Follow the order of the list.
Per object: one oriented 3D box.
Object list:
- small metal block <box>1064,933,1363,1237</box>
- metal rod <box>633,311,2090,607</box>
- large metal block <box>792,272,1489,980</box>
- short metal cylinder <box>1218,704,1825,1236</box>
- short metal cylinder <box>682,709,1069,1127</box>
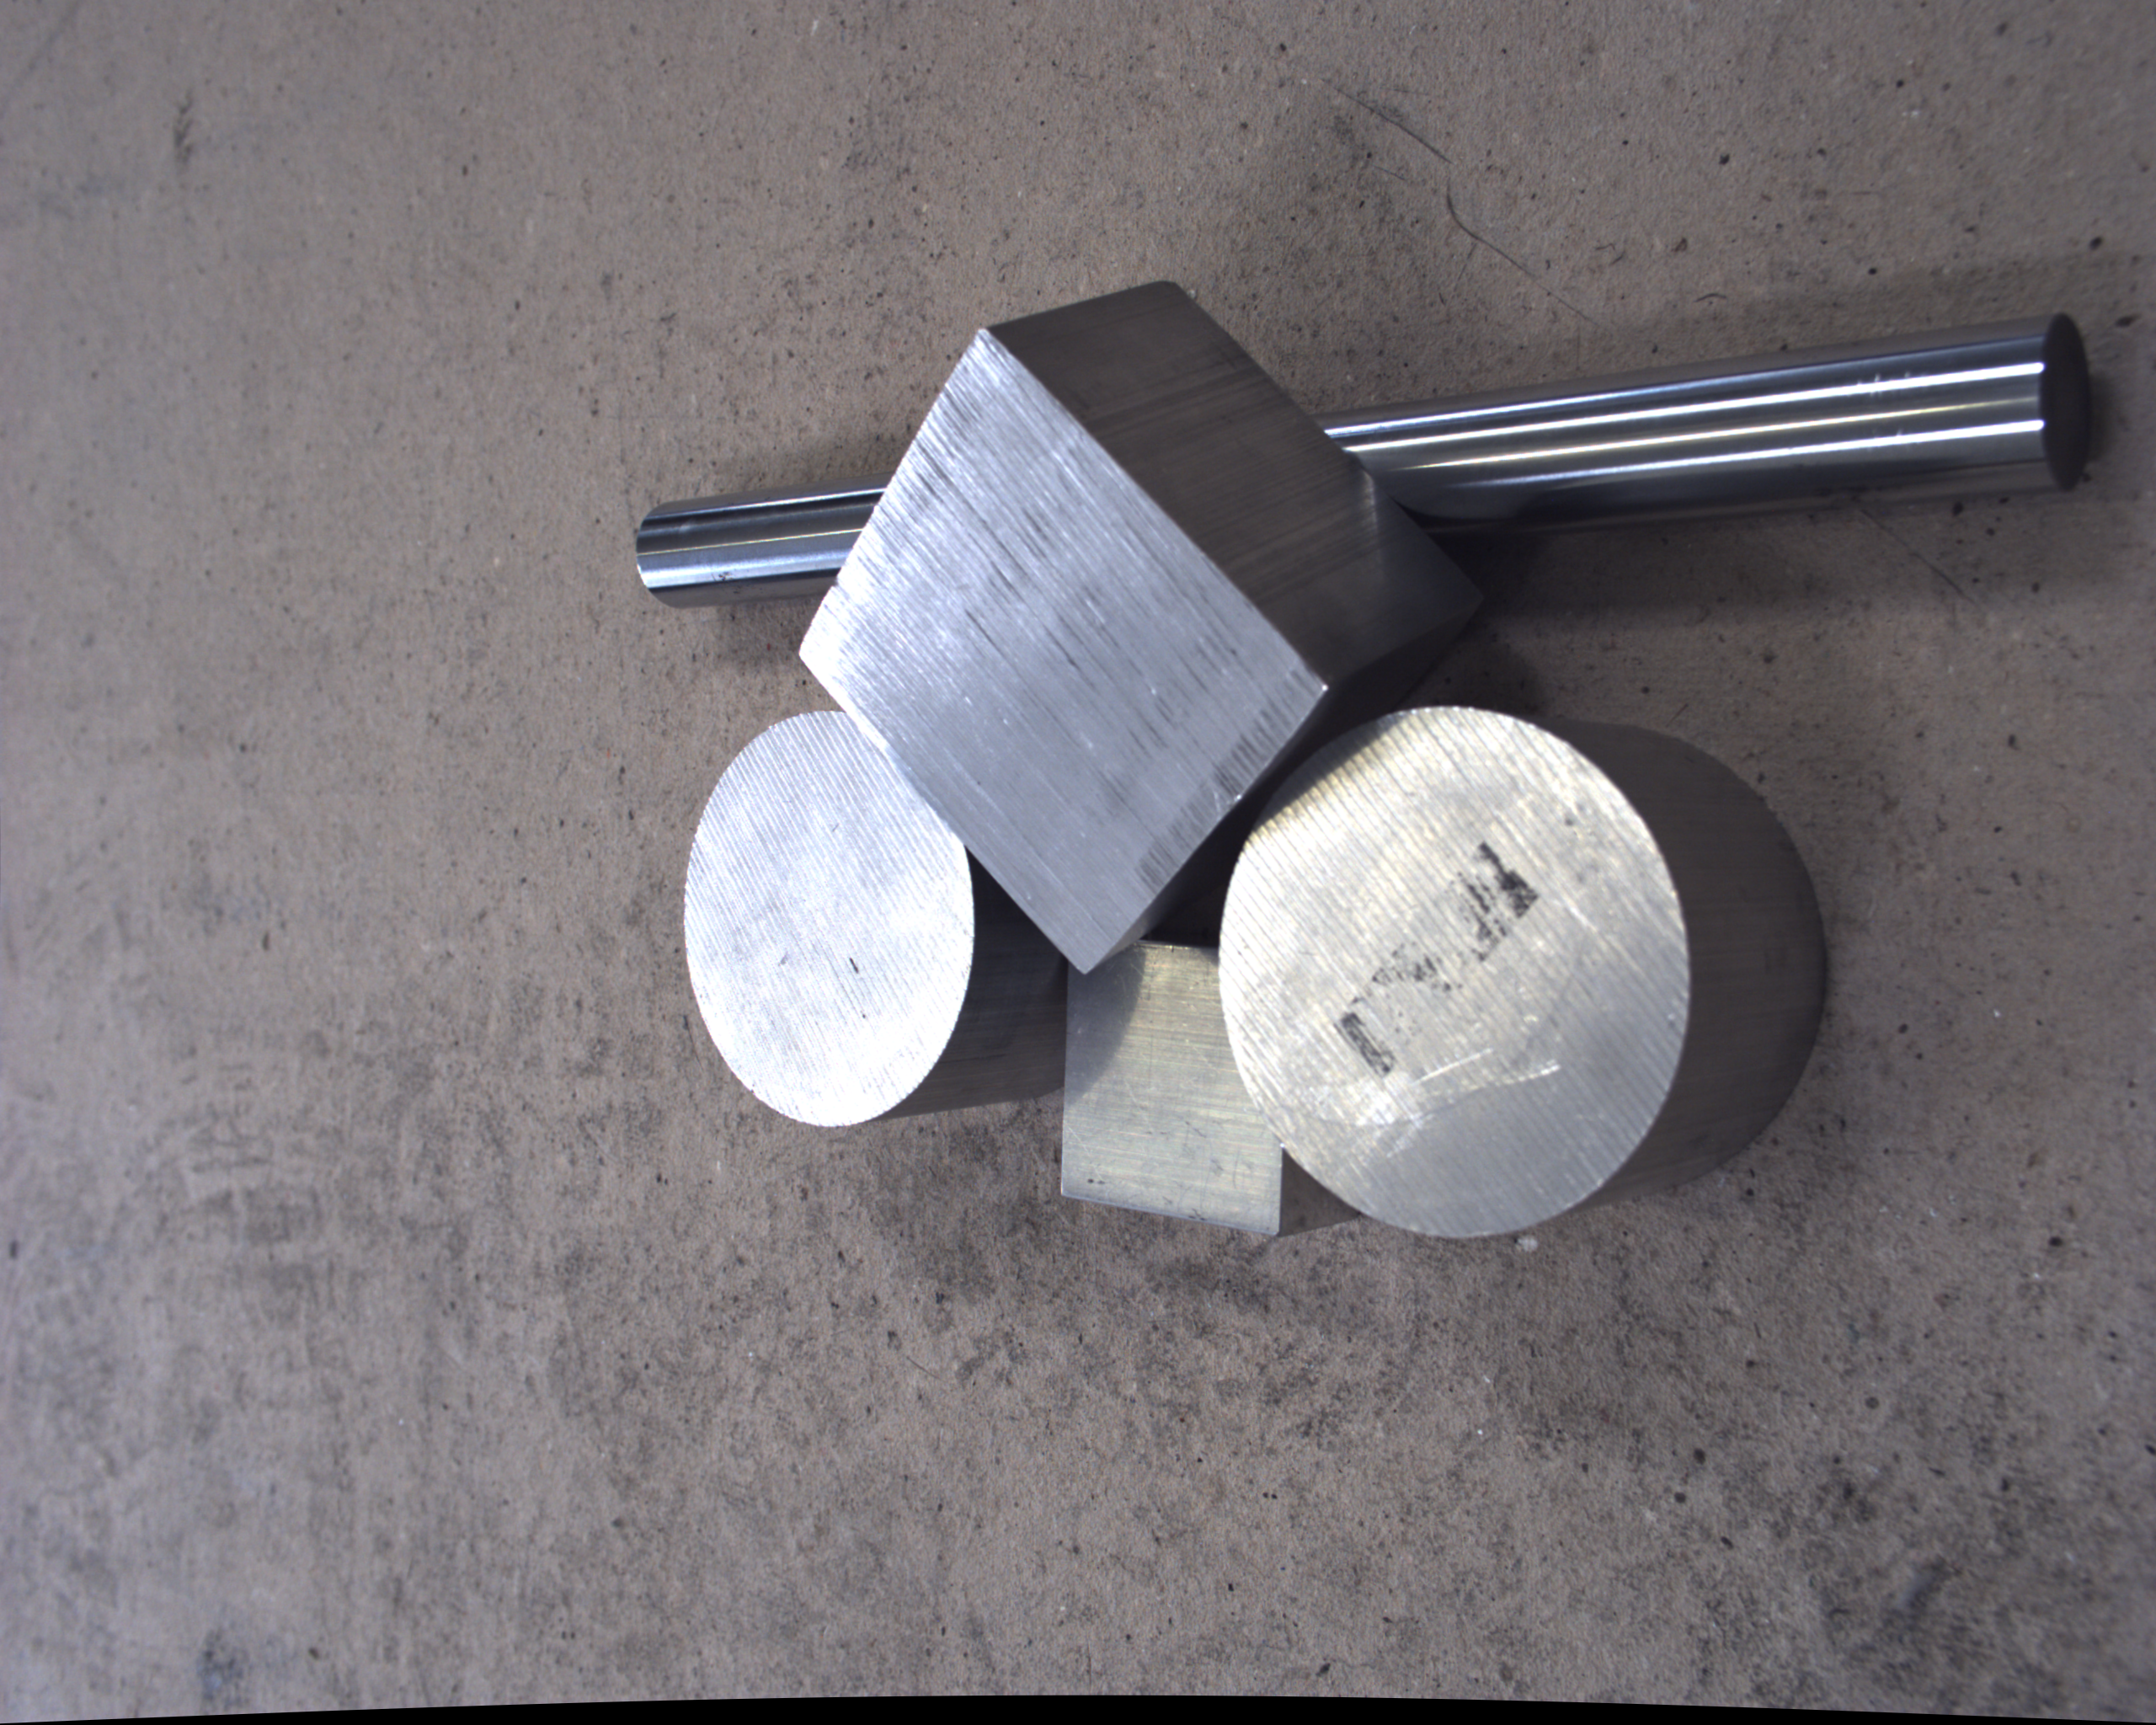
[{"bbox_3d":[0.025,0.039,0.387,0.050,0.025,0.050,3,92,40],"label":"small metal block"},{"bbox_3d":[0.023,-0.068,0.387,0.300,0.025,0.025,2,91,40],"label":"metal rod"},{"bbox_3d":[0.008,-0.041,0.361,0.080,0.050,0.080,48,133,11],"label":"large metal block"},{"bbox_3d":[0.070,0.016,0.332,0.080,0.050,0.079,0,90,40],"label":"short metal cylinder"},{"bbox_3d":[-0.033,0.010,0.417,0.080,0.050,0.079,0,90,40],"label":"short metal cylinder"}]
